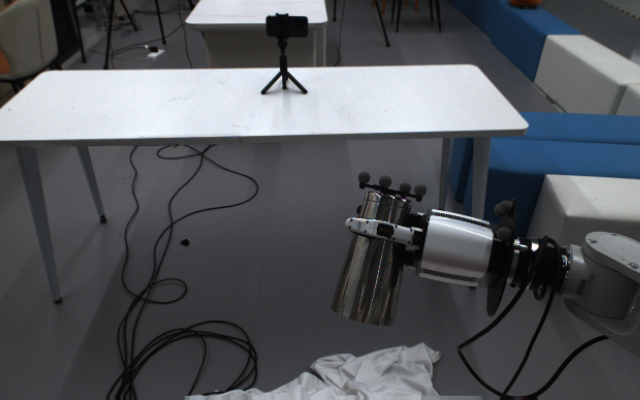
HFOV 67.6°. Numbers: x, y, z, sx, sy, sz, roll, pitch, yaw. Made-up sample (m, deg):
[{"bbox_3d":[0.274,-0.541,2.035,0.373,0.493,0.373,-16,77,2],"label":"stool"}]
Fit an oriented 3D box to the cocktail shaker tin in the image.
[{"bbox_3d":[0.082,0.076,0.679,0.093,0.170,0.093,13,1,0],"label":"cocktail shaker tin"}]
